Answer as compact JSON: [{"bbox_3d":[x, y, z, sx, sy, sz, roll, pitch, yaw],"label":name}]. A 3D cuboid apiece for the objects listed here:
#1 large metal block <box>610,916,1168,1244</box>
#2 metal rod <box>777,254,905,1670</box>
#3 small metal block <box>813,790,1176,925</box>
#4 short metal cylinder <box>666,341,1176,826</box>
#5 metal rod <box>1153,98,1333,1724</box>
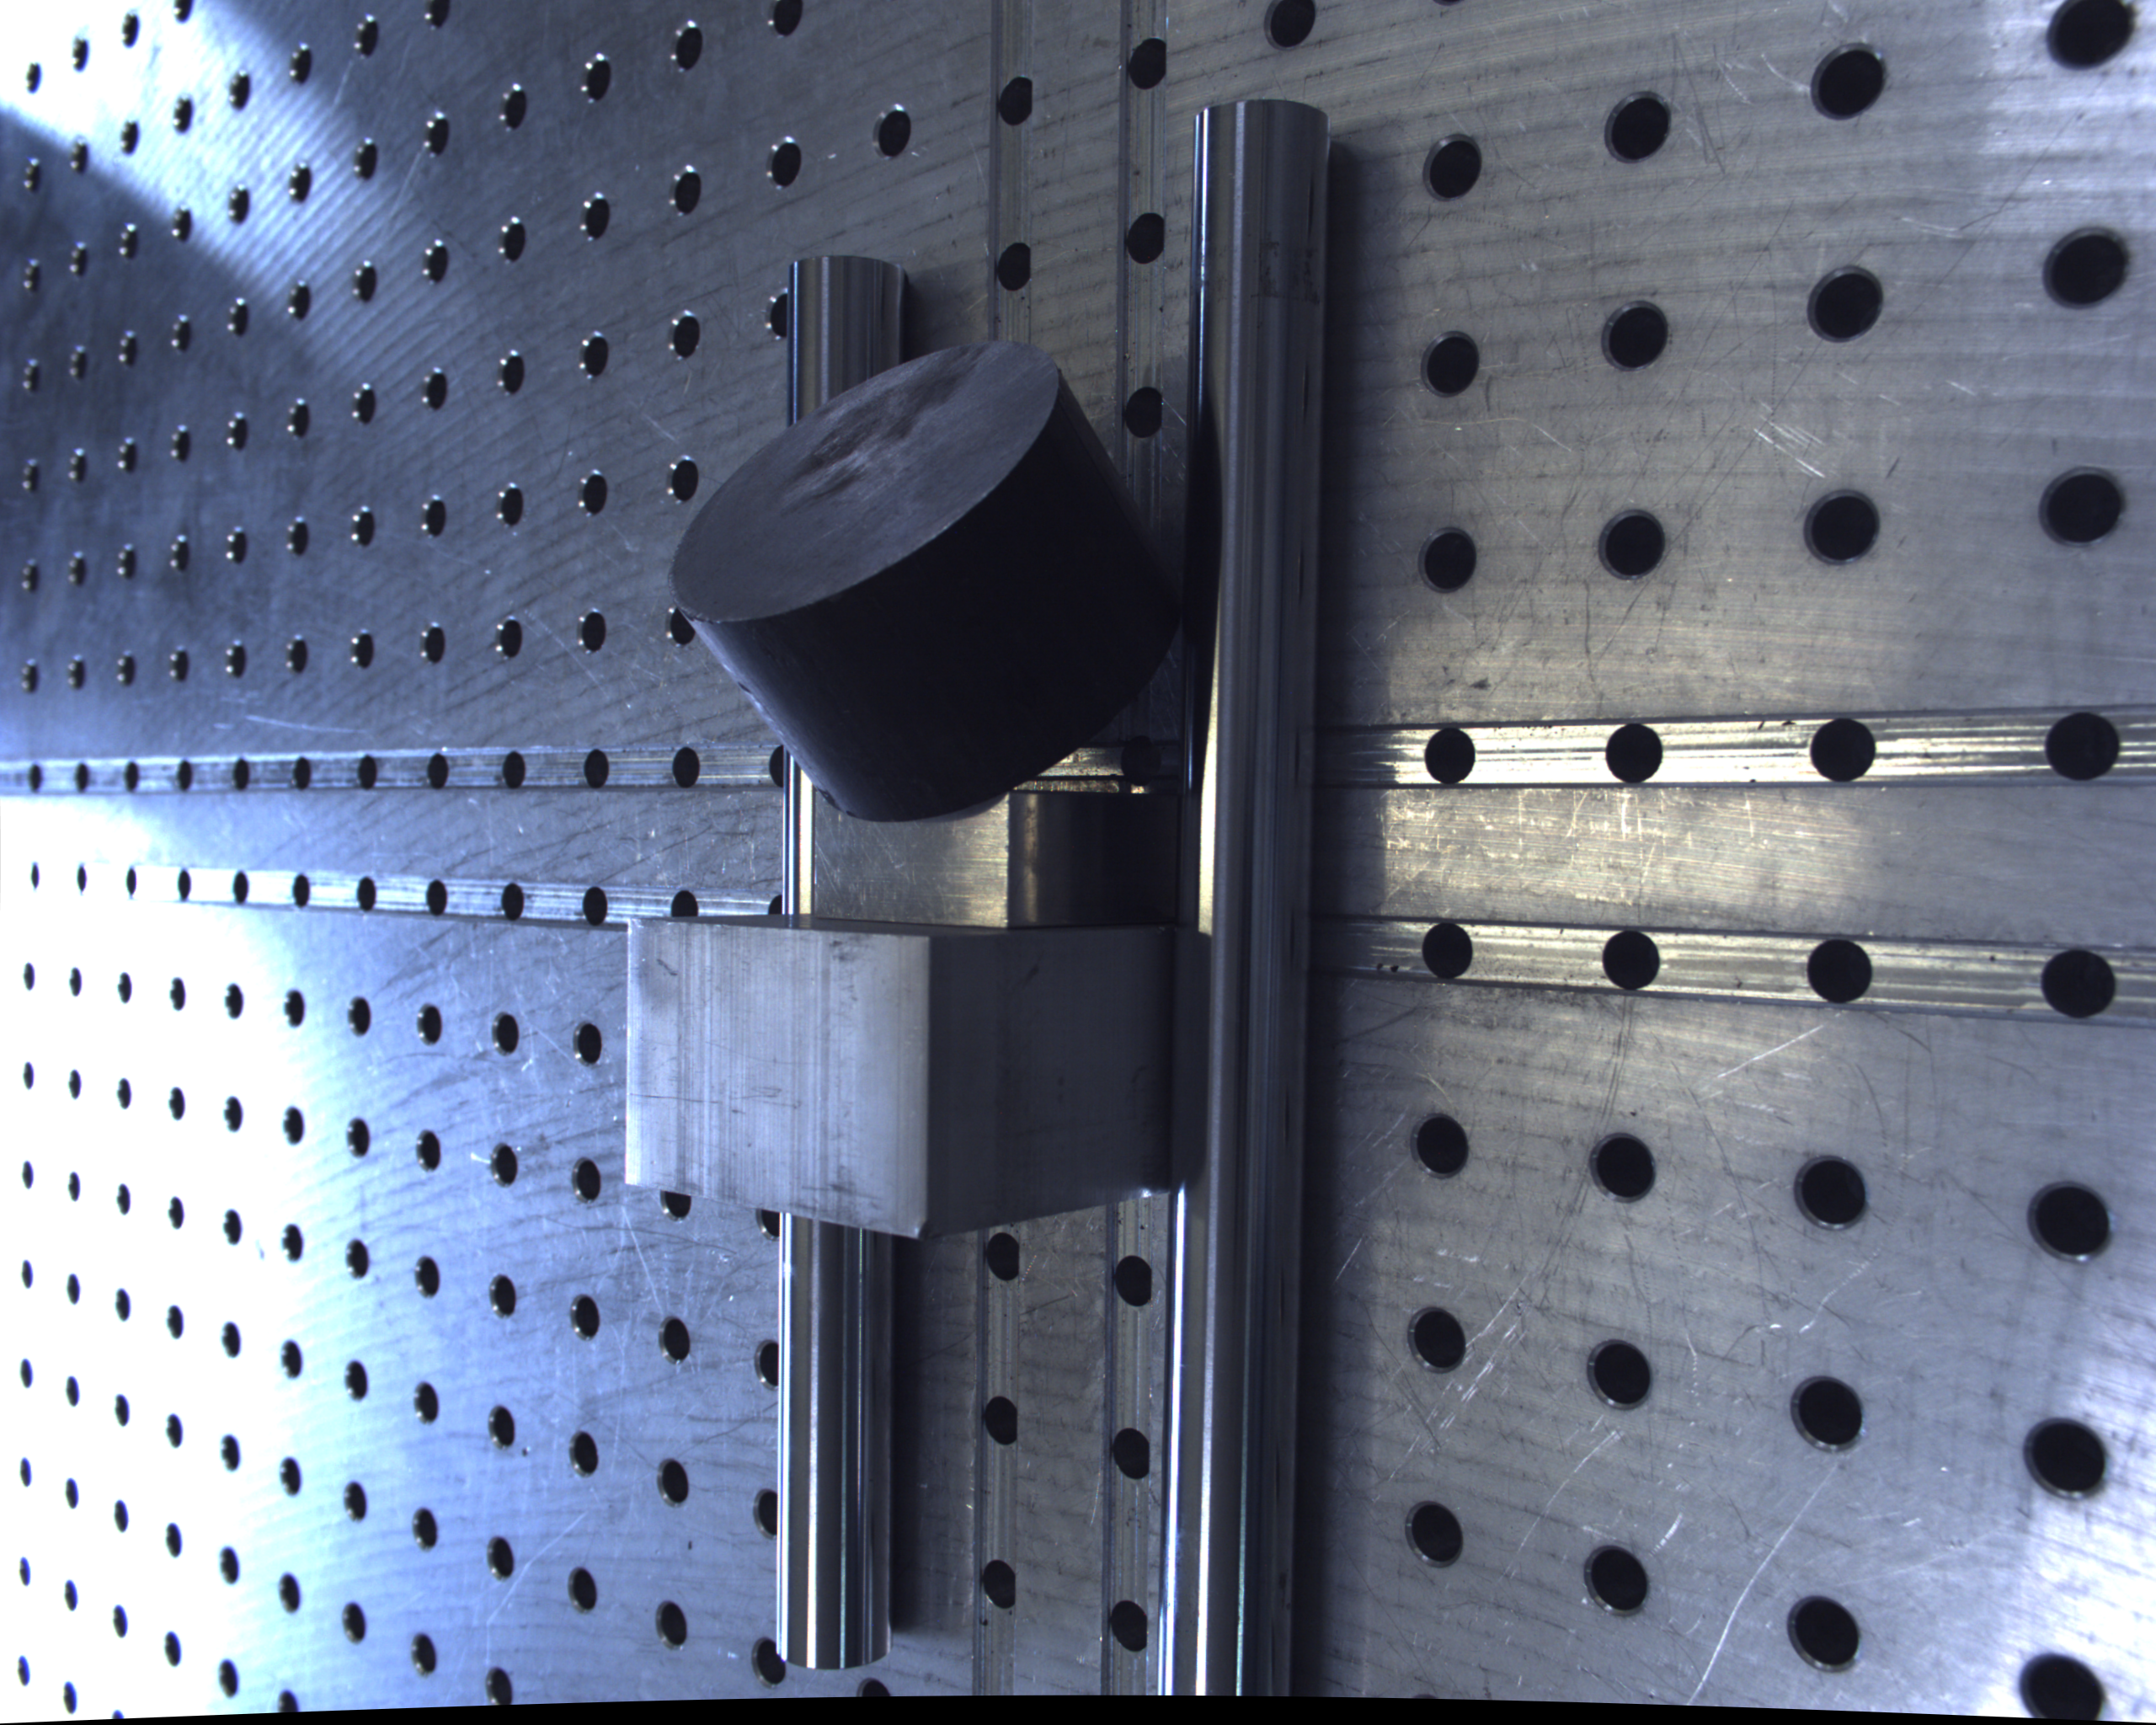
[{"bbox_3d":[-0.031,0.036,0.396,0.080,0.081,0.050,1,91,40],"label":"large metal block"},{"bbox_3d":[-0.051,0.021,0.452,0.025,0.025,0.298,1,91,40],"label":"metal rod"},{"bbox_3d":[-0.016,-0.001,0.406,0.050,0.050,0.025,2,92,39],"label":"small metal block"},{"bbox_3d":[-0.028,-0.052,0.388,0.080,0.050,0.080,-21,36,16],"label":"short metal cylinder"},{"bbox_3d":[0.030,0.013,0.384,0.025,0.025,0.298,2,92,40],"label":"metal rod"}]
